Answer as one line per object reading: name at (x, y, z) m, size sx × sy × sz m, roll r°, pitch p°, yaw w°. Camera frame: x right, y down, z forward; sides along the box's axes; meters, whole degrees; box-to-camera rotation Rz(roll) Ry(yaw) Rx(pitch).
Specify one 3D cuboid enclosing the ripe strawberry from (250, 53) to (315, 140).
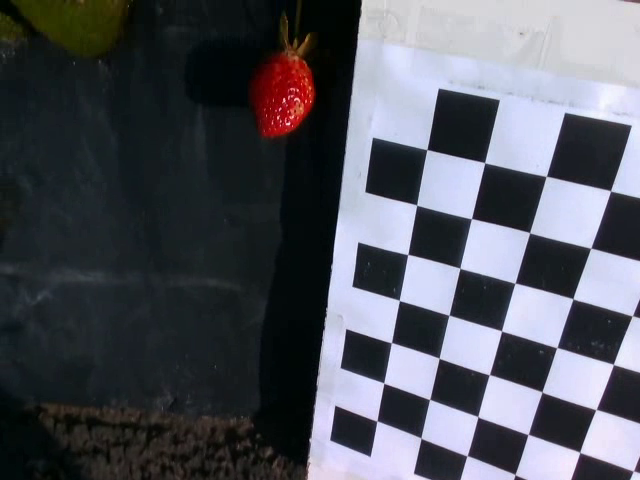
ripe strawberry at (-0.015, -0.052, 0.225) m, size 0.034 × 0.038 × 0.033 m, roll 13°, pitch -27°, yaw 18°
